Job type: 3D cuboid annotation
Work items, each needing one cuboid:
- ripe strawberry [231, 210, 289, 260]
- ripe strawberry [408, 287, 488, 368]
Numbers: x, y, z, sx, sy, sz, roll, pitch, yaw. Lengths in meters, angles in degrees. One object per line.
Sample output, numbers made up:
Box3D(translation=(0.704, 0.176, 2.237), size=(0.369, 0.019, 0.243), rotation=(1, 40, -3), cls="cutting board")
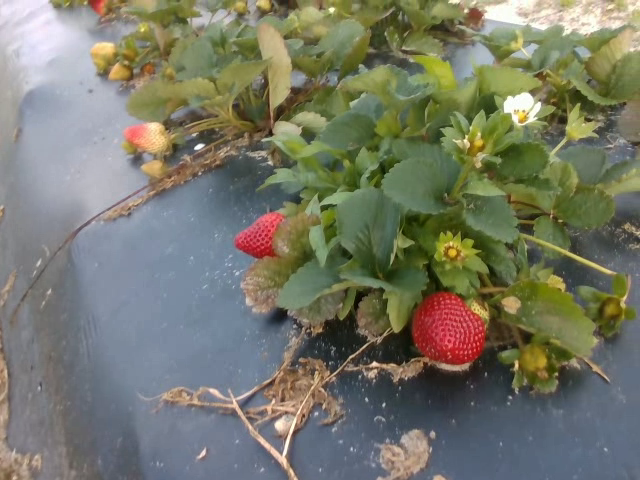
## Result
Box3D(translation=(-0.041, 0.001, 0.446), size=(0.051, 0.043, 0.043), rotation=(-15, 39, -11), cls="ripe strawberry")
Box3D(translation=(0.071, 0.051, 0.338), size=(0.043, 0.047, 0.046), rotation=(-25, 12, 17), cls="ripe strawberry")
